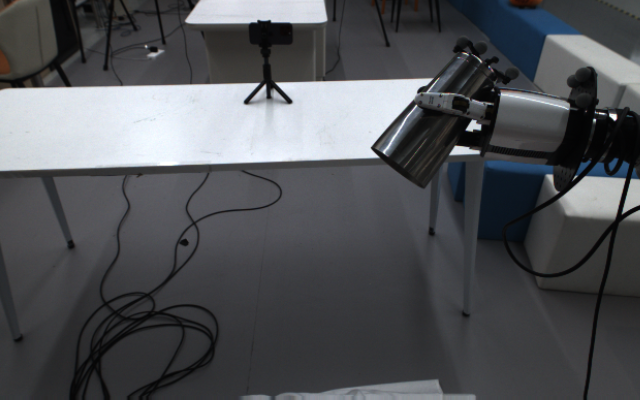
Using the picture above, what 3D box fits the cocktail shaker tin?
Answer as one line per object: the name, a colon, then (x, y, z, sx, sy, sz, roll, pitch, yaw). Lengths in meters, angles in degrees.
cocktail shaker tin: (0.158, -0.114, 0.652, 0.170, 0.093, 0.093, -50, 46, 4)
